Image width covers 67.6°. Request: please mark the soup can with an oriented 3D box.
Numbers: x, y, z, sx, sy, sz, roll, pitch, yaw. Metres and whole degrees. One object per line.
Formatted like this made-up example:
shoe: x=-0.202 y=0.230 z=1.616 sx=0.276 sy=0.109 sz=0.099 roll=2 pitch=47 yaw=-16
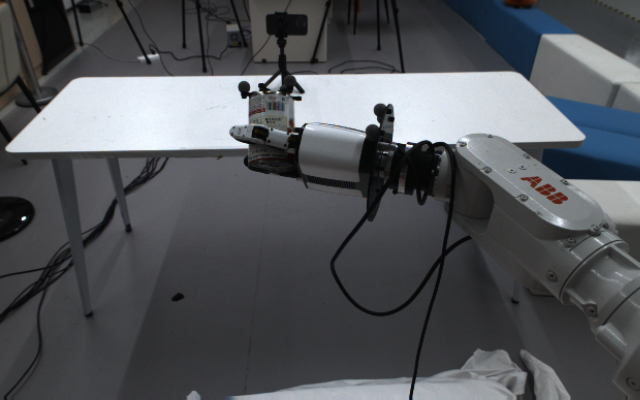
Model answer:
soup can: x=-0.068 y=-0.095 z=0.686 sx=0.067 sy=0.101 sz=0.067 roll=-1 pitch=-9 yaw=0
